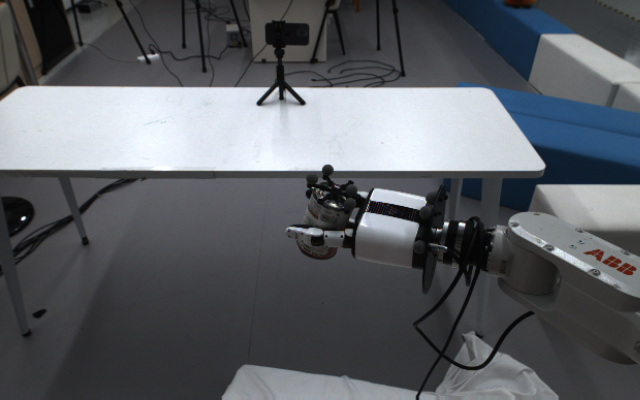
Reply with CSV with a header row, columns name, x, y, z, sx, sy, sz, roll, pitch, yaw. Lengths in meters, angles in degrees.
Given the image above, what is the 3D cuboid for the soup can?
name,x,y,z,sx,sy,sz,roll,pitch,yaw
soup can,0.009,0.033,0.736,0.067,0.101,0.067,13,34,-9
